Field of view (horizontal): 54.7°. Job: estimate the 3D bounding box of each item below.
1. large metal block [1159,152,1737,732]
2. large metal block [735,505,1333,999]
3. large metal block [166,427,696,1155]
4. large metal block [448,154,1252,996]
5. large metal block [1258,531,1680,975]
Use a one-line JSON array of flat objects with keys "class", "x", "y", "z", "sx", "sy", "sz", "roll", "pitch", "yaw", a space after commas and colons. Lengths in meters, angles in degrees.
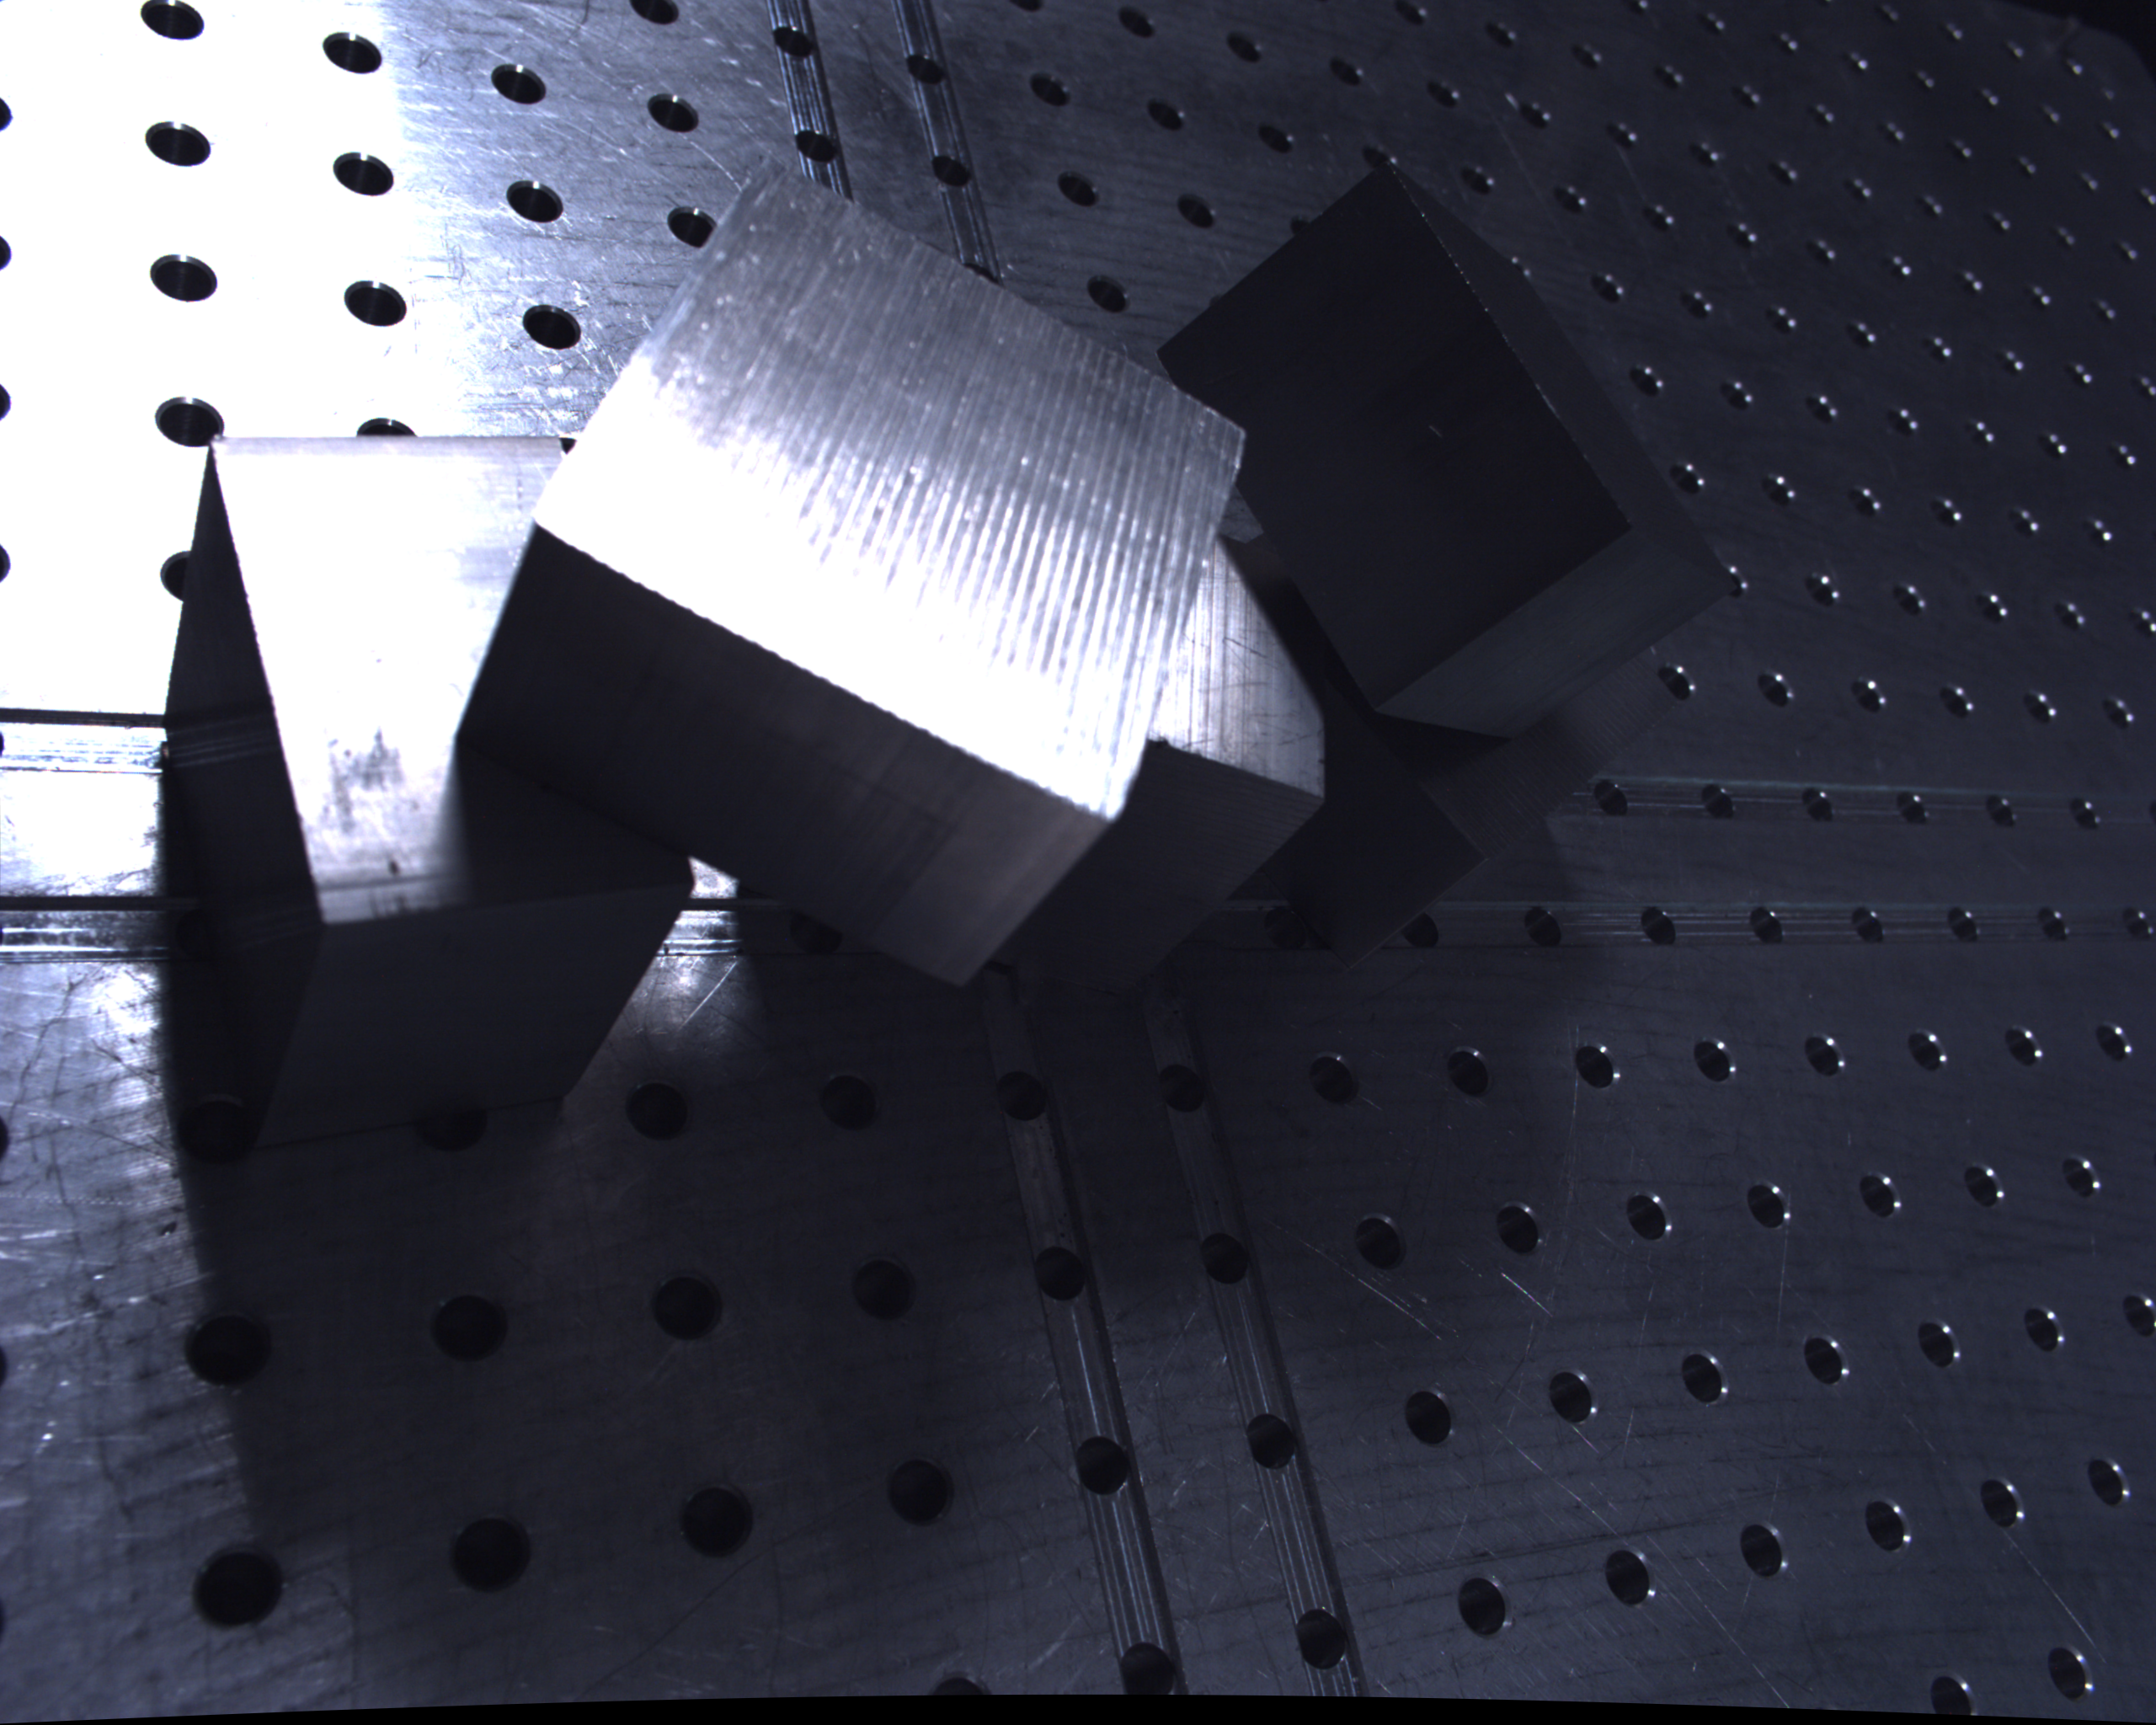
[{"class": "large metal block", "x": 0.071, "y": -0.074, "z": 0.389, "sx": 0.080, "sy": 0.050, "sz": 0.080, "roll": 1, "pitch": 57, "yaw": -61}, {"class": "large metal block", "x": -0.009, "y": -0.024, "z": 0.383, "sx": 0.081, "sy": 0.080, "sz": 0.050, "roll": 17, "pitch": 55, "yaw": -19}, {"class": "large metal block", "x": -0.104, "y": -0.010, "z": 0.323, "sx": 0.050, "sy": 0.080, "sz": 0.080, "roll": -6, "pitch": 65, "yaw": -31}, {"class": "large metal block", "x": -0.030, "y": -0.041, "z": 0.298, "sx": 0.080, "sy": 0.050, "sz": 0.080, "roll": 27, "pitch": 52, "yaw": -11}, {"class": "large metal block", "x": 0.069, "y": -0.036, "z": 0.453, "sx": 0.081, "sy": 0.050, "sz": 0.080, "roll": -35, "pitch": 81, "yaw": -39}]
